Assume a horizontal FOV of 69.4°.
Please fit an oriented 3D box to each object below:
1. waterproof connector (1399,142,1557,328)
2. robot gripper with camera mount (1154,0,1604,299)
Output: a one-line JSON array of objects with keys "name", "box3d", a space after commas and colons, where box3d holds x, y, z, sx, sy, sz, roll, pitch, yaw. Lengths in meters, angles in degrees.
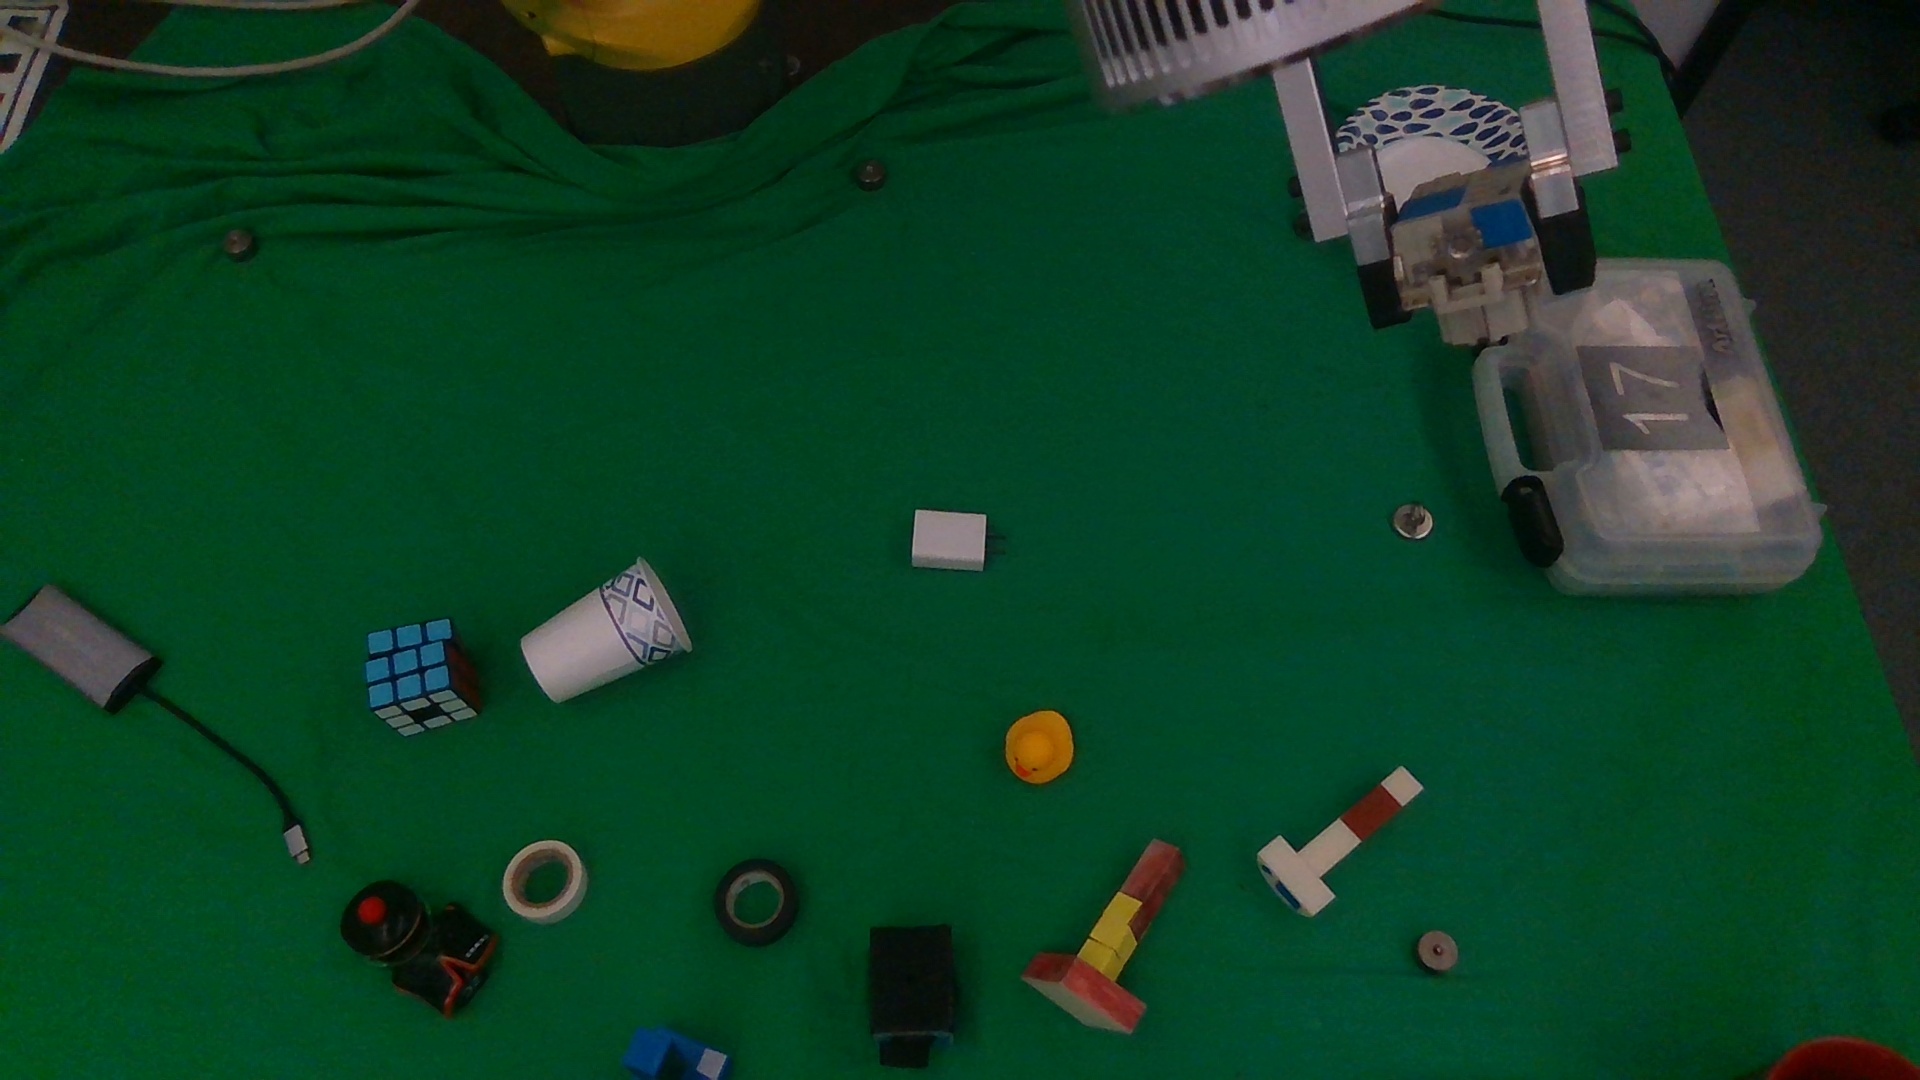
[{"name": "waterproof connector", "box3d": [0.140, -0.081, 0.371, 0.035, 0.037, 0.065, -13, 20, 30]}, {"name": "robot gripper with camera mount", "box3d": [0.093, -0.105, 0.275, 0.119, 0.158, 0.193, -9, 24, 25]}]
